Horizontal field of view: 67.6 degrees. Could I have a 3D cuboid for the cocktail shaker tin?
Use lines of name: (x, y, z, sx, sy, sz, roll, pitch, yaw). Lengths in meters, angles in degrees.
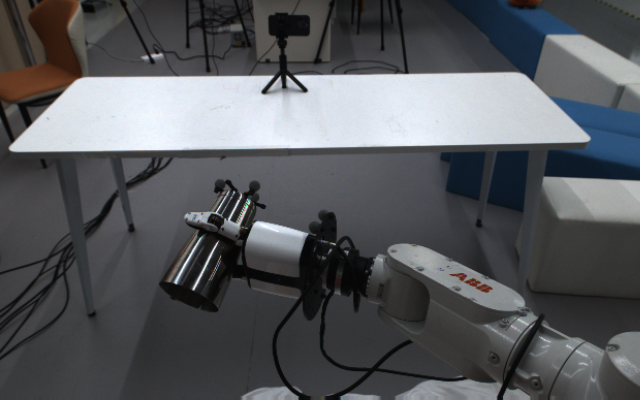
cocktail shaker tin: (-0.161, 0.070, 0.729, 0.093, 0.093, 0.170, 13, 58, 16)
